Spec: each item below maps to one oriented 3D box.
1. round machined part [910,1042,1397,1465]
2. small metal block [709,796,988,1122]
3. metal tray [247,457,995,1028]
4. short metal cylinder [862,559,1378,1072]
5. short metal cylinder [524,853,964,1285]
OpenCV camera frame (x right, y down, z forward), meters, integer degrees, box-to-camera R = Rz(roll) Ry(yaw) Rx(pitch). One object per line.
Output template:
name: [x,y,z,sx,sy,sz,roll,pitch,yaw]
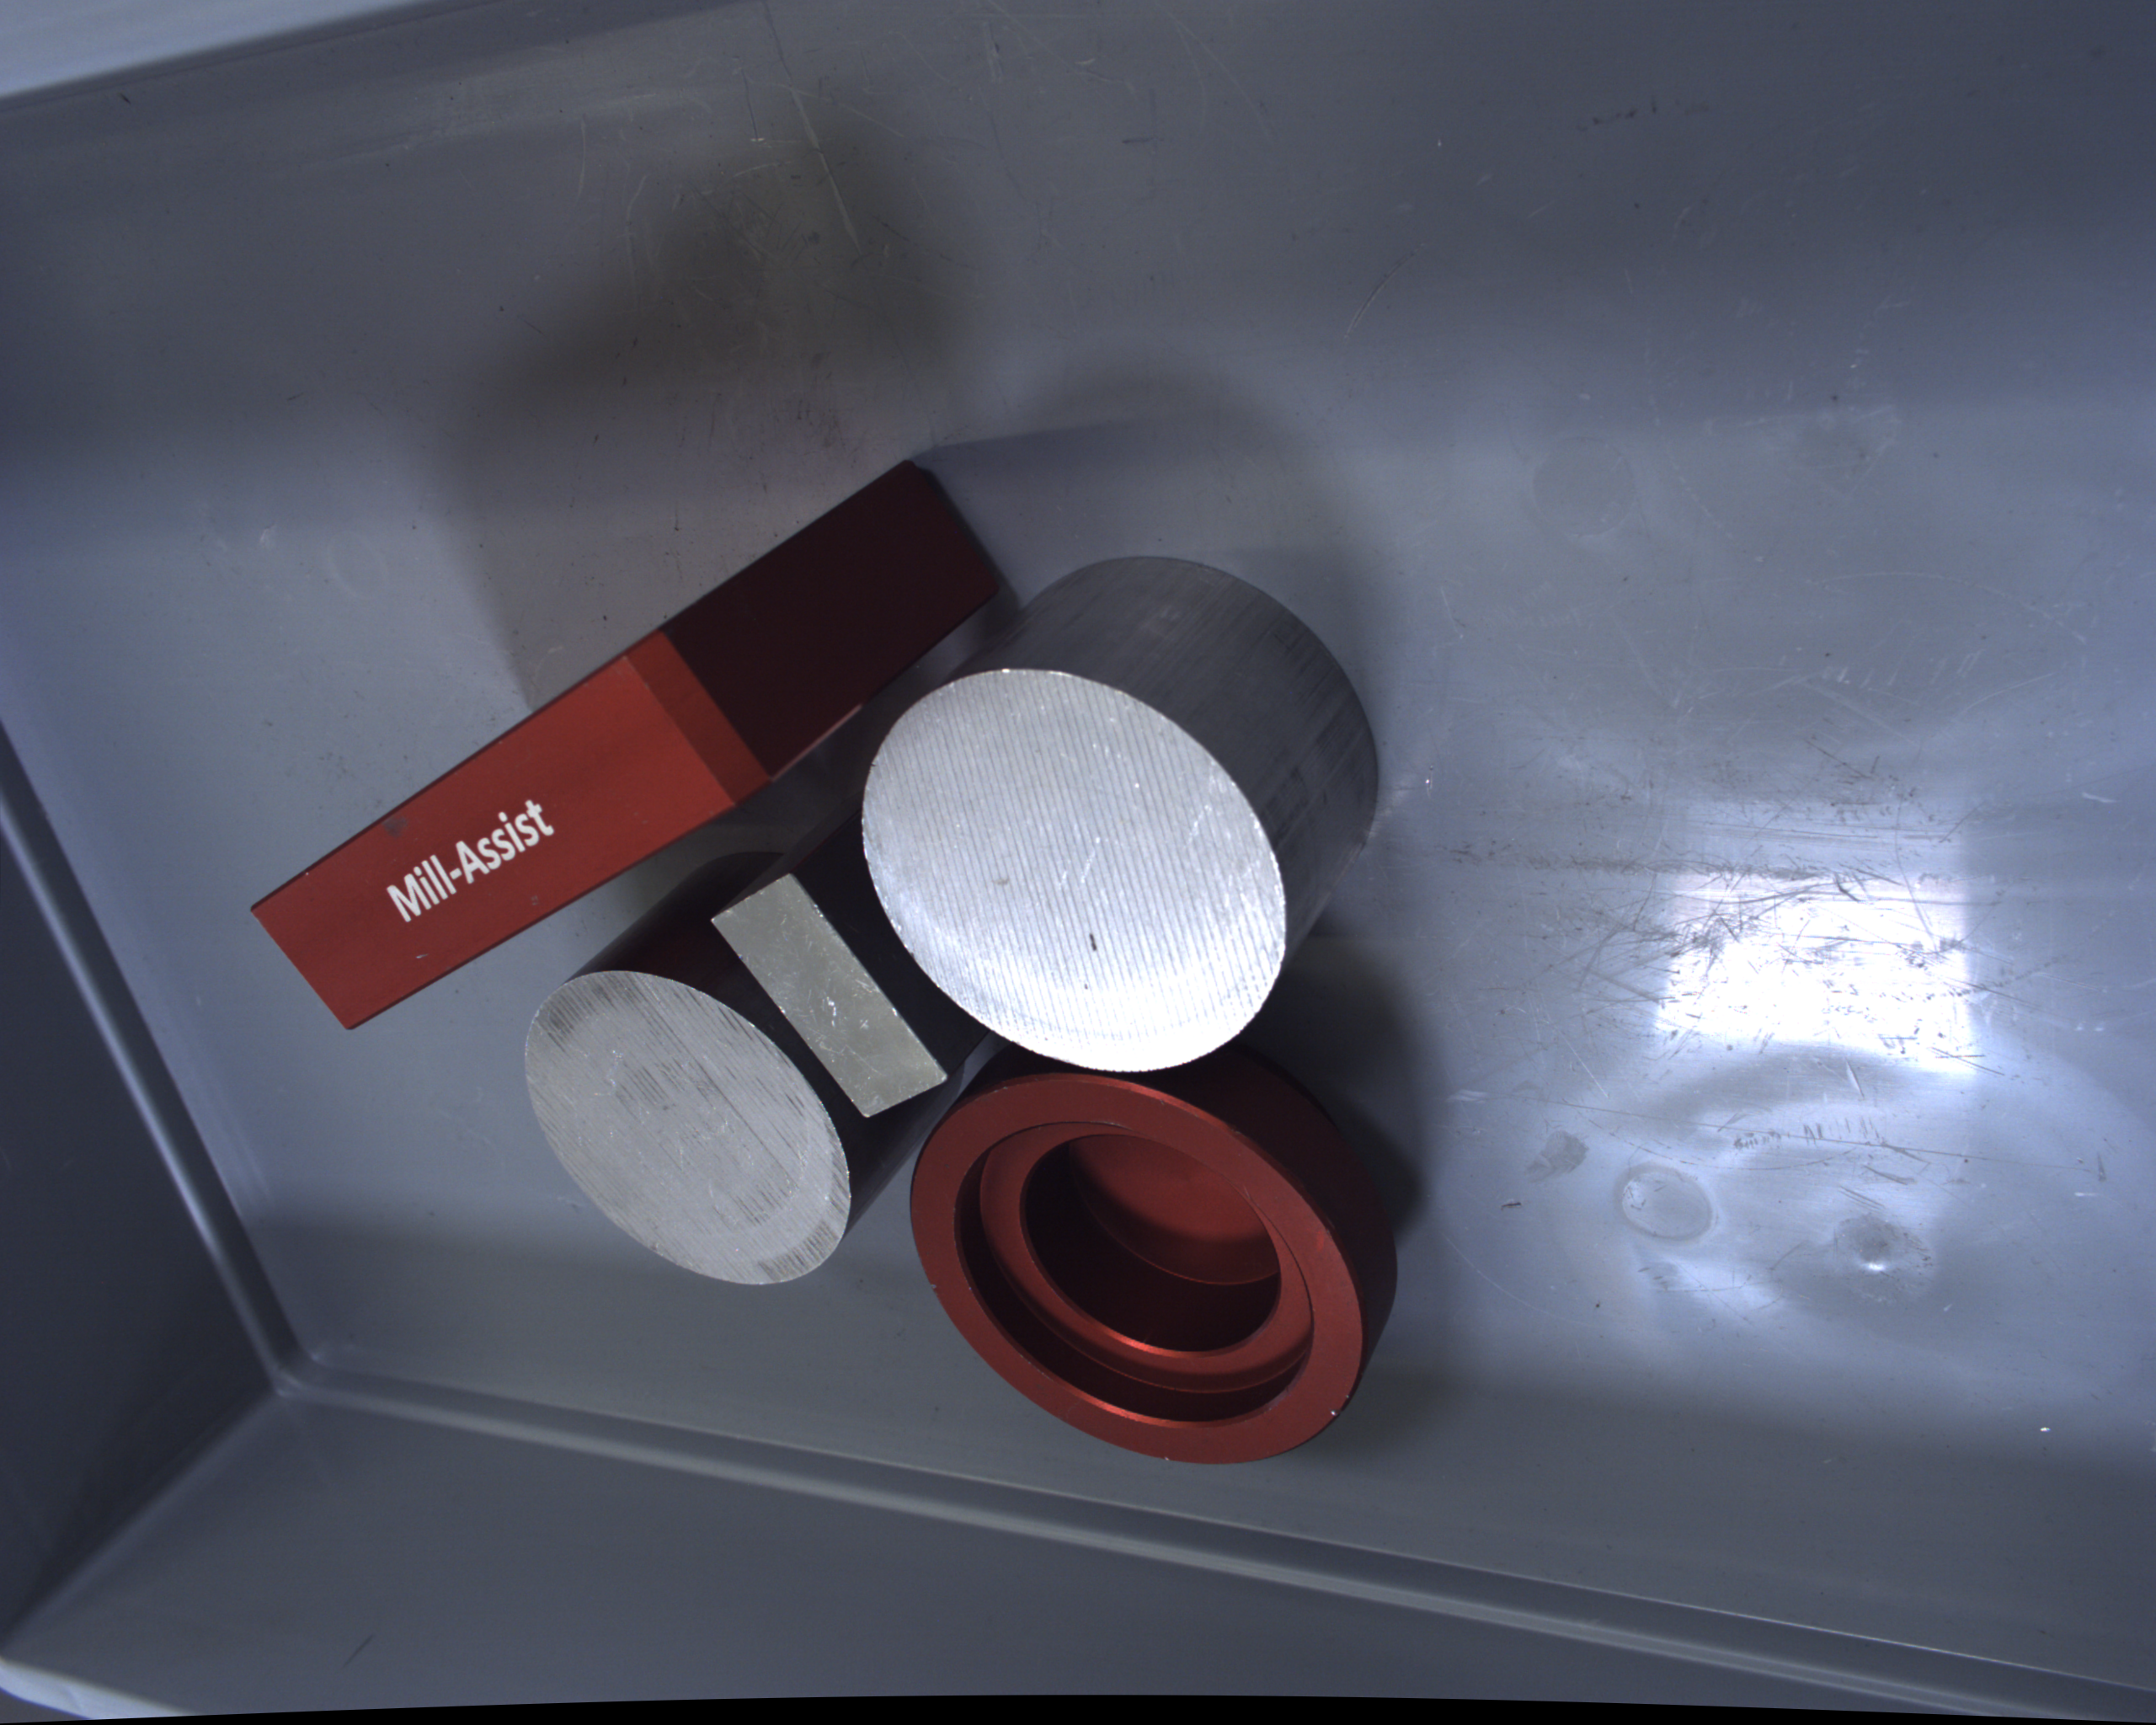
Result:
round machined part: [0.019,0.073,0.430,0.098,0.042,0.097,13,124,21]
small metal block: [-0.037,0.015,0.418,0.025,0.050,0.050,-28,103,37]
metal tray: [-0.087,-0.022,0.396,0.130,0.090,0.030,-26,104,37]
short metal cylinder: [0.008,-0.009,0.380,0.080,0.050,0.079,13,124,21]
short metal cylinder: [-0.072,0.045,0.456,0.080,0.050,0.079,13,124,21]
